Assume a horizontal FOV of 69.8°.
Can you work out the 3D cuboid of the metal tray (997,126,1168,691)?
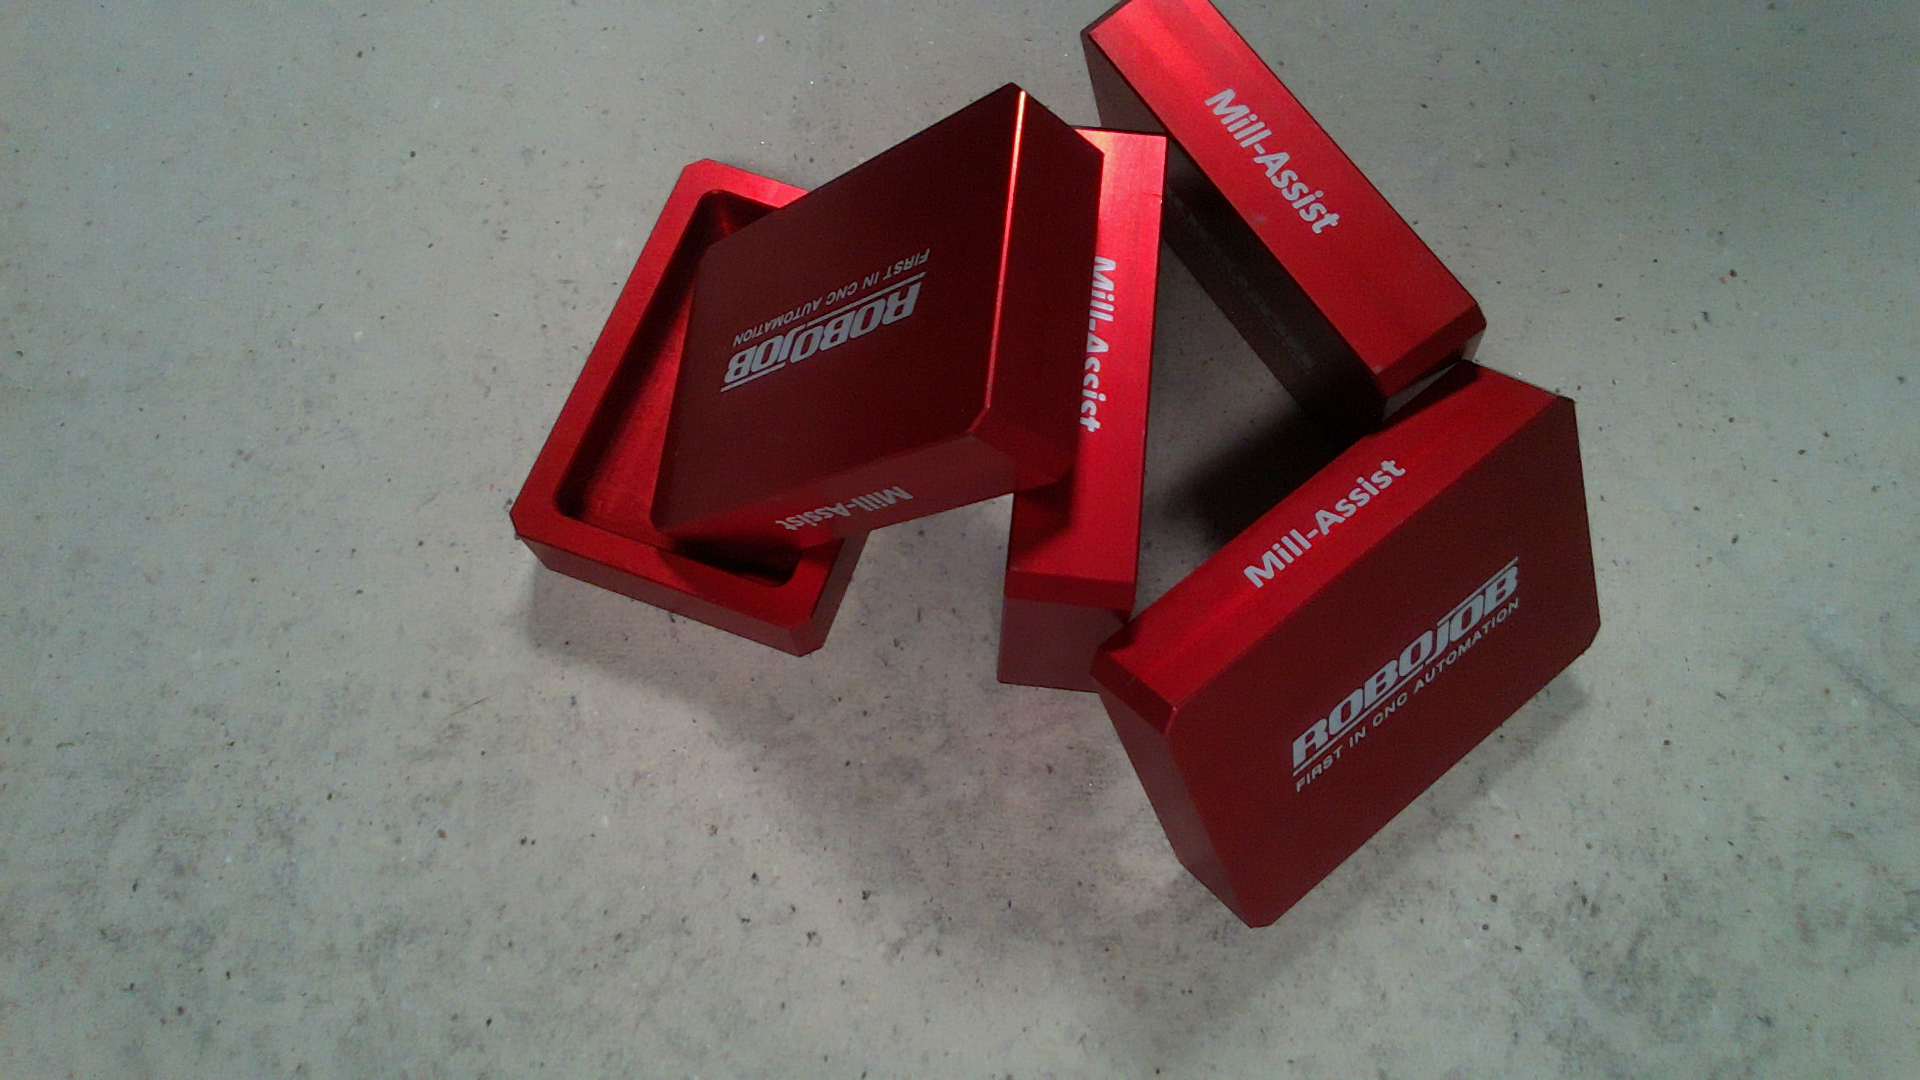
[{"bbox_3d":[0.032,-0.033,0.372,0.030,0.090,0.130,6,71,2],"label":"metal tray"}]

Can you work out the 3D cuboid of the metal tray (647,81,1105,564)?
[{"bbox_3d":[-0.025,-0.050,0.353,0.129,0.030,0.090,-13,62,43],"label":"metal tray"}]

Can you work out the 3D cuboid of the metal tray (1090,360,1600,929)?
[{"bbox_3d":[0.103,0.027,0.350,0.130,0.090,0.030,-37,39,-12],"label":"metal tray"}]

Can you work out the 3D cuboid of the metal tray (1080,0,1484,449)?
[{"bbox_3d":[0.088,-0.086,0.389,0.030,0.090,0.130,-36,73,3],"label":"metal tray"}]

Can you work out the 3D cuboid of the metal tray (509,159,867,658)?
[{"bbox_3d":[-0.062,-0.041,0.407,0.090,0.030,0.130,19,71,7],"label":"metal tray"}]
